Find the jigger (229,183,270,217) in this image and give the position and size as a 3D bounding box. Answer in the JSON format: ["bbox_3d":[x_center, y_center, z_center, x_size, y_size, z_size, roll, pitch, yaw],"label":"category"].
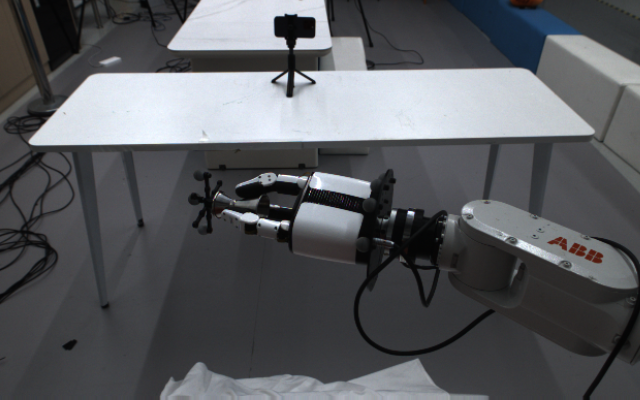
[{"bbox_3d":[-0.102,0.008,0.667,0.071,0.043,0.043,6,34,16],"label":"jigger"}]
